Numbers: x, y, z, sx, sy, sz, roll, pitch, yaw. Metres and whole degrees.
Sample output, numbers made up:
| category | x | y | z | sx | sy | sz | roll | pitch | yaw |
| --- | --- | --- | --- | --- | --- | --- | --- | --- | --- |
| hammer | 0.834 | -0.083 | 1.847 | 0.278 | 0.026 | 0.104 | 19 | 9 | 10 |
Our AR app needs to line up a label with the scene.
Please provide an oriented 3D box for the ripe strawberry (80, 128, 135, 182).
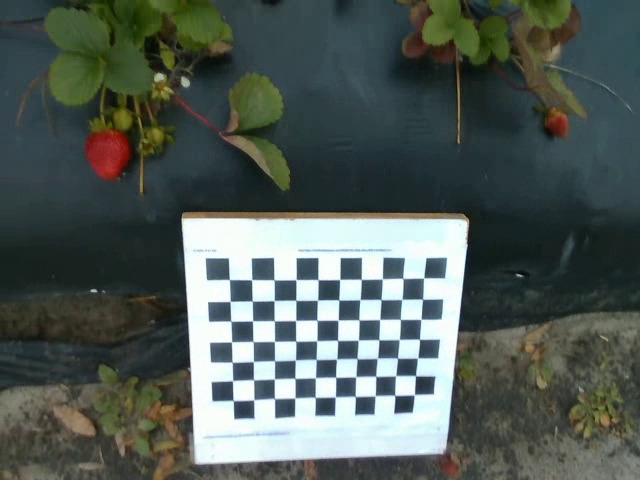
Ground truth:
| category | x | y | z | sx | sy | sz | roll | pitch | yaw |
| --- | --- | --- | --- | --- | --- | --- | --- | --- | --- |
| ripe strawberry | -0.059 | -0.023 | 0.116 | 0.018 | 0.017 | 0.014 | 3 | -29 | -16 |
